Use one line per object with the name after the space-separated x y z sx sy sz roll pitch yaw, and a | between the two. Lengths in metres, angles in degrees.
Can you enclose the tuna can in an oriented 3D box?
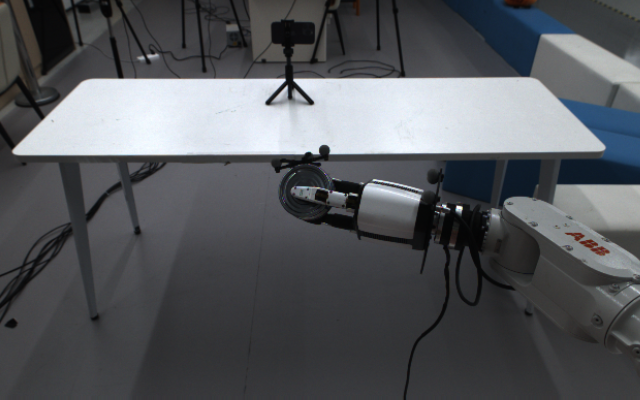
-0.017 -0.008 0.746 0.085 0.085 0.034 12 -6 14 | tuna can
